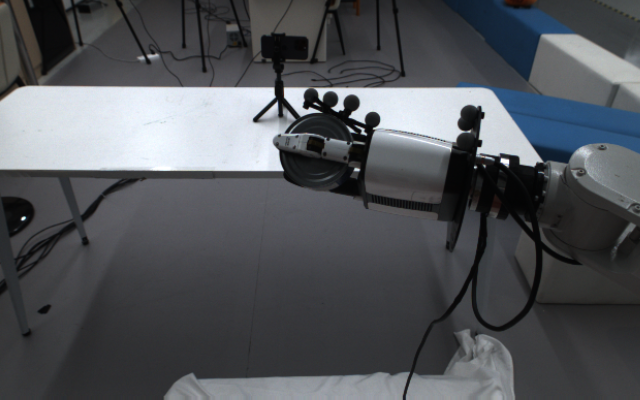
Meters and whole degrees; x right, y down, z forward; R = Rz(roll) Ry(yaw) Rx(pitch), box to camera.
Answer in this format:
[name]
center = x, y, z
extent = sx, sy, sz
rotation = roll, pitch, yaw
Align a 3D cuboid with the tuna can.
[tuna can]
center = 0.001, -0.054, 0.555
extent = 0.085, 0.085, 0.034
rotation = 13, -6, 16
